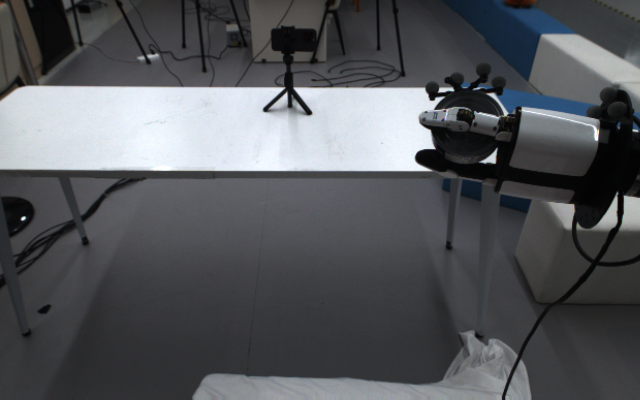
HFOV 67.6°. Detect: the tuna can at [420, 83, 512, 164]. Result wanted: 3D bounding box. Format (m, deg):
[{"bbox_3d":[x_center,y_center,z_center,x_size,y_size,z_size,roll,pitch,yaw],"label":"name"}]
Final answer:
[{"bbox_3d":[0.178,-0.091,0.591,0.085,0.034,0.085,-5,70,15],"label":"tuna can"}]
